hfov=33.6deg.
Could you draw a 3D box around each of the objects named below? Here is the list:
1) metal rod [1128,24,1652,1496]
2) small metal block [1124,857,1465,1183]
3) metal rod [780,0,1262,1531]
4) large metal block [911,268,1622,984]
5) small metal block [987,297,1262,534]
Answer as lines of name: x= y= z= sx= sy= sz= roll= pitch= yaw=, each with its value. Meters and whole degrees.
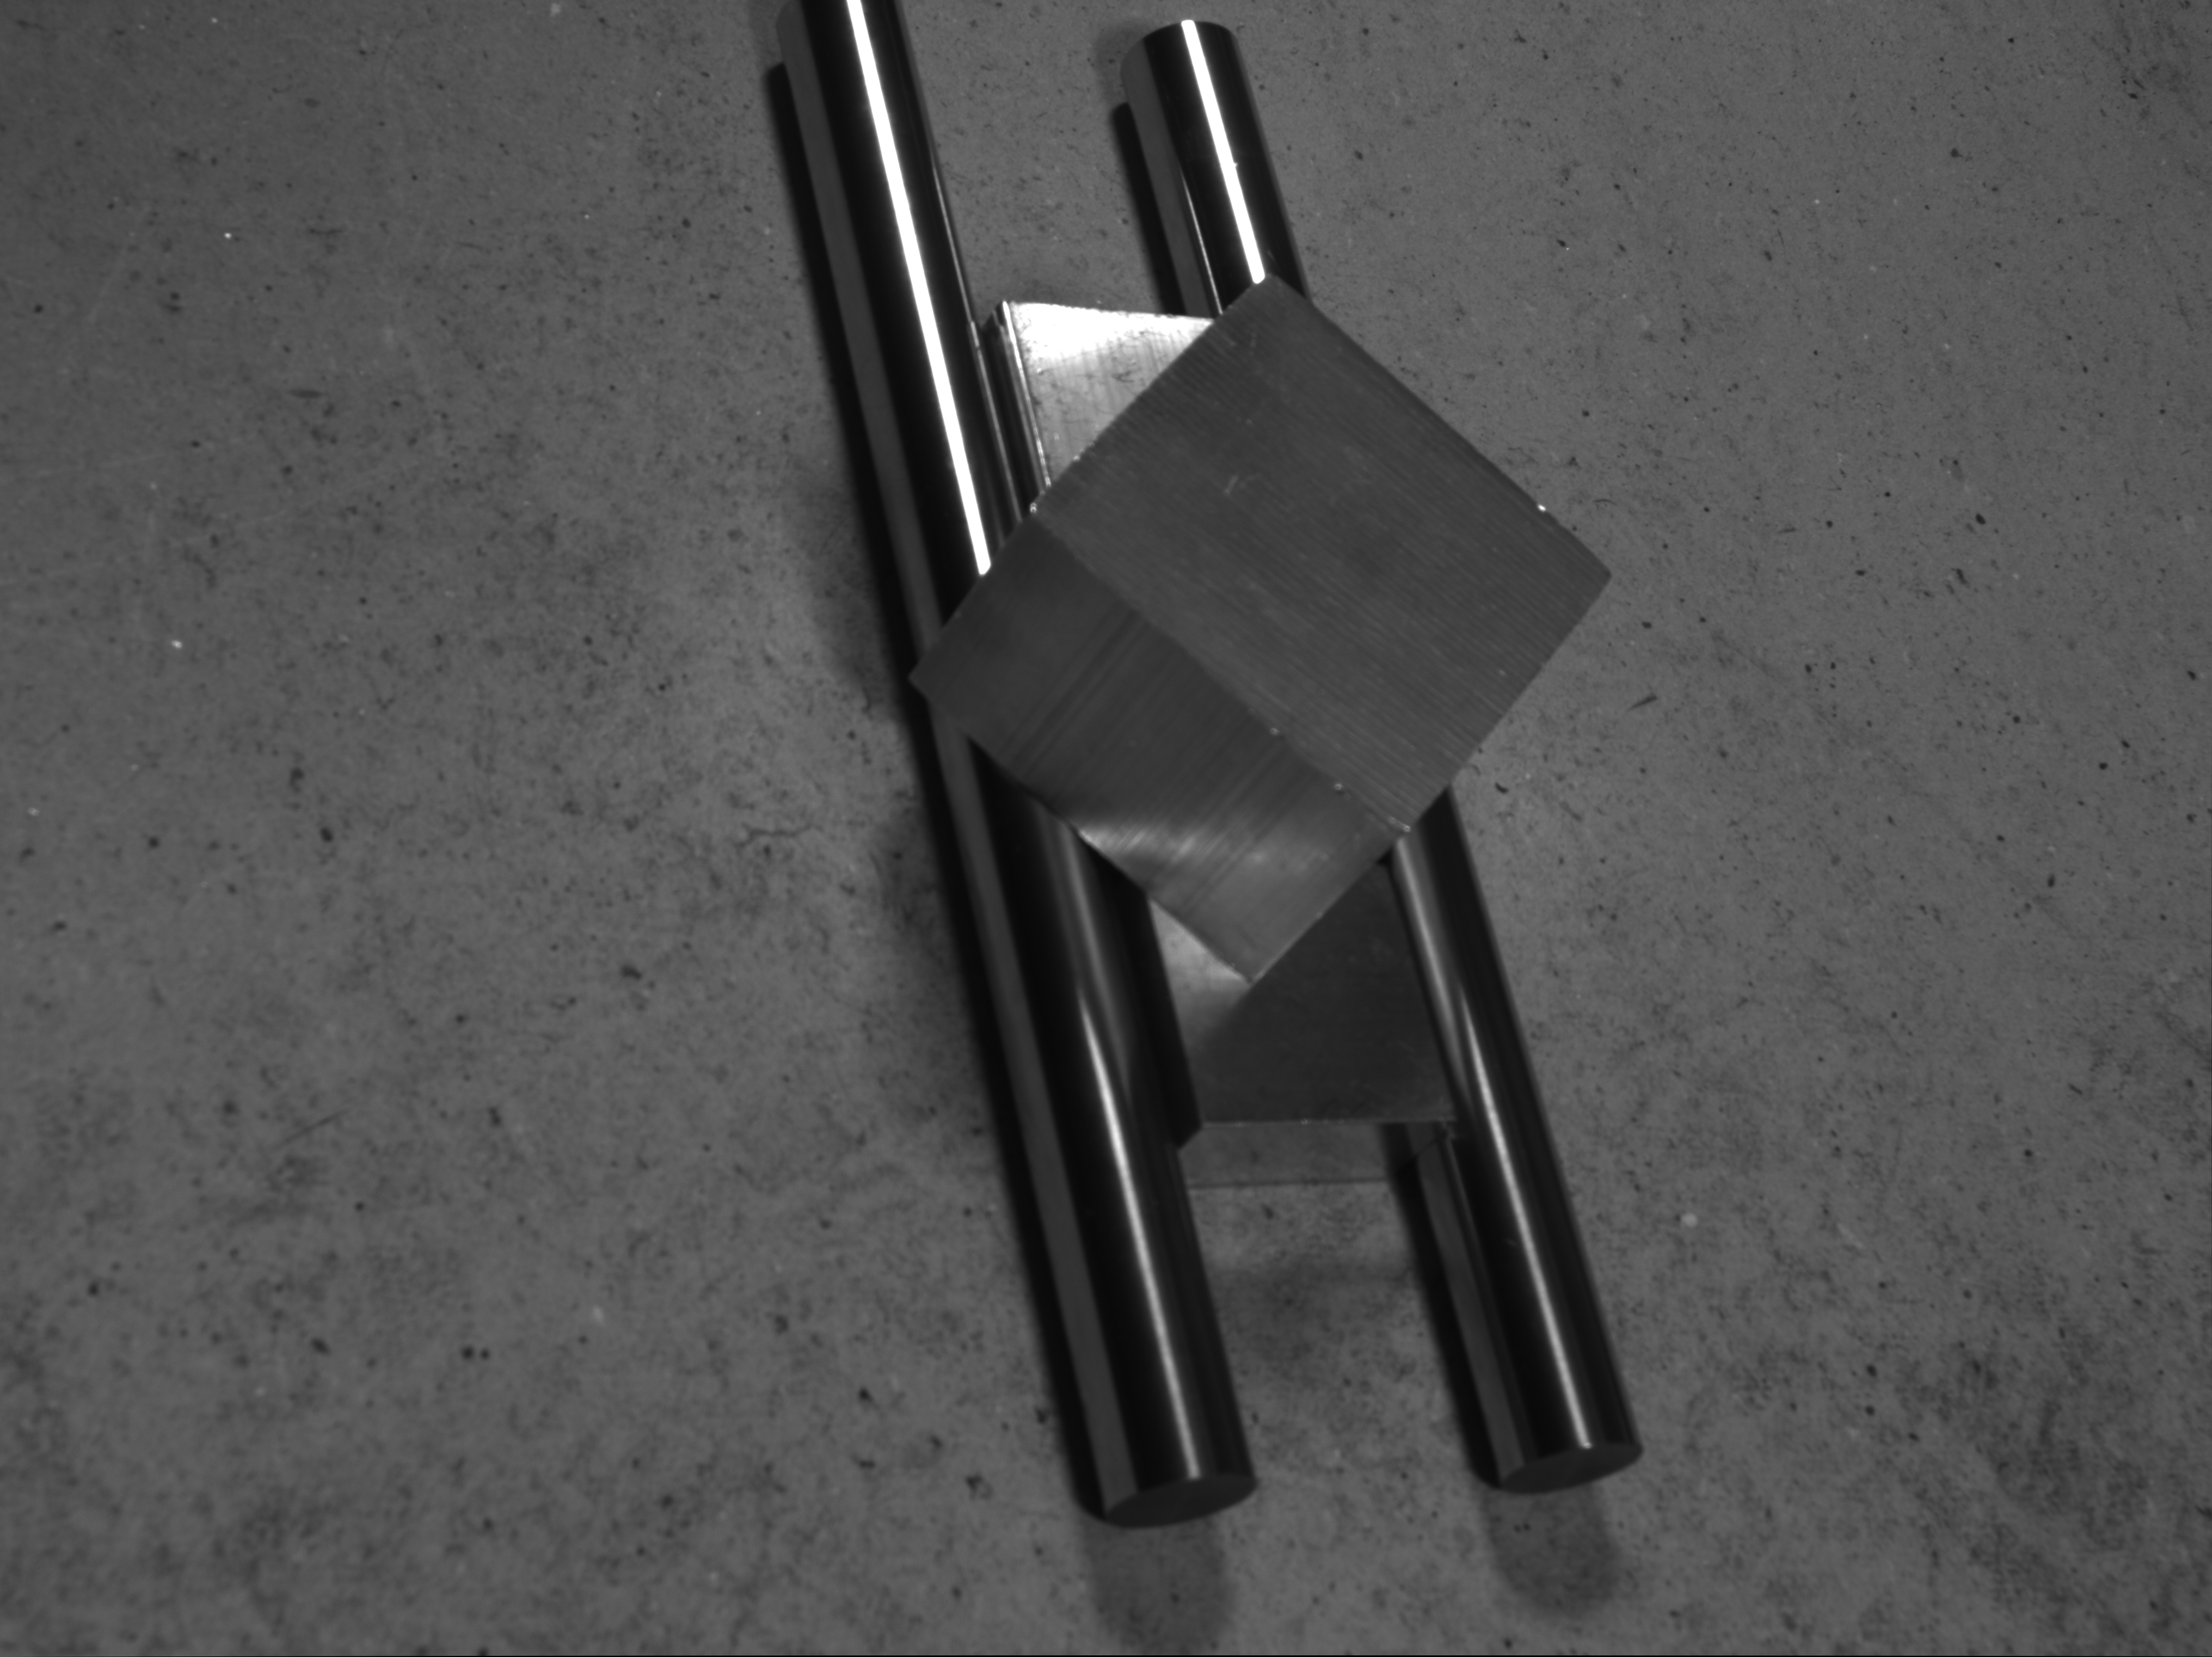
metal rod: x=0.048 y=-0.024 z=0.681 sx=0.025 sy=0.025 sz=0.300 roll=1 pitch=61 yaw=-28
small metal block: x=0.029 y=0.033 z=0.634 sx=0.050 sy=0.025 sz=0.050 roll=1 pitch=61 yaw=-28
metal rod: x=-0.019 y=-0.024 z=0.645 sx=0.025 sy=0.025 sz=0.300 roll=1 pitch=61 yaw=-28
large metal block: x=0.028 y=-0.035 z=0.626 sx=0.080 sy=0.050 sz=0.080 roll=42 pitch=51 yaw=0
small metal block: x=0.004 y=-0.069 z=0.683 sx=0.050 sy=0.025 sz=0.050 roll=1 pitch=61 yaw=-28
